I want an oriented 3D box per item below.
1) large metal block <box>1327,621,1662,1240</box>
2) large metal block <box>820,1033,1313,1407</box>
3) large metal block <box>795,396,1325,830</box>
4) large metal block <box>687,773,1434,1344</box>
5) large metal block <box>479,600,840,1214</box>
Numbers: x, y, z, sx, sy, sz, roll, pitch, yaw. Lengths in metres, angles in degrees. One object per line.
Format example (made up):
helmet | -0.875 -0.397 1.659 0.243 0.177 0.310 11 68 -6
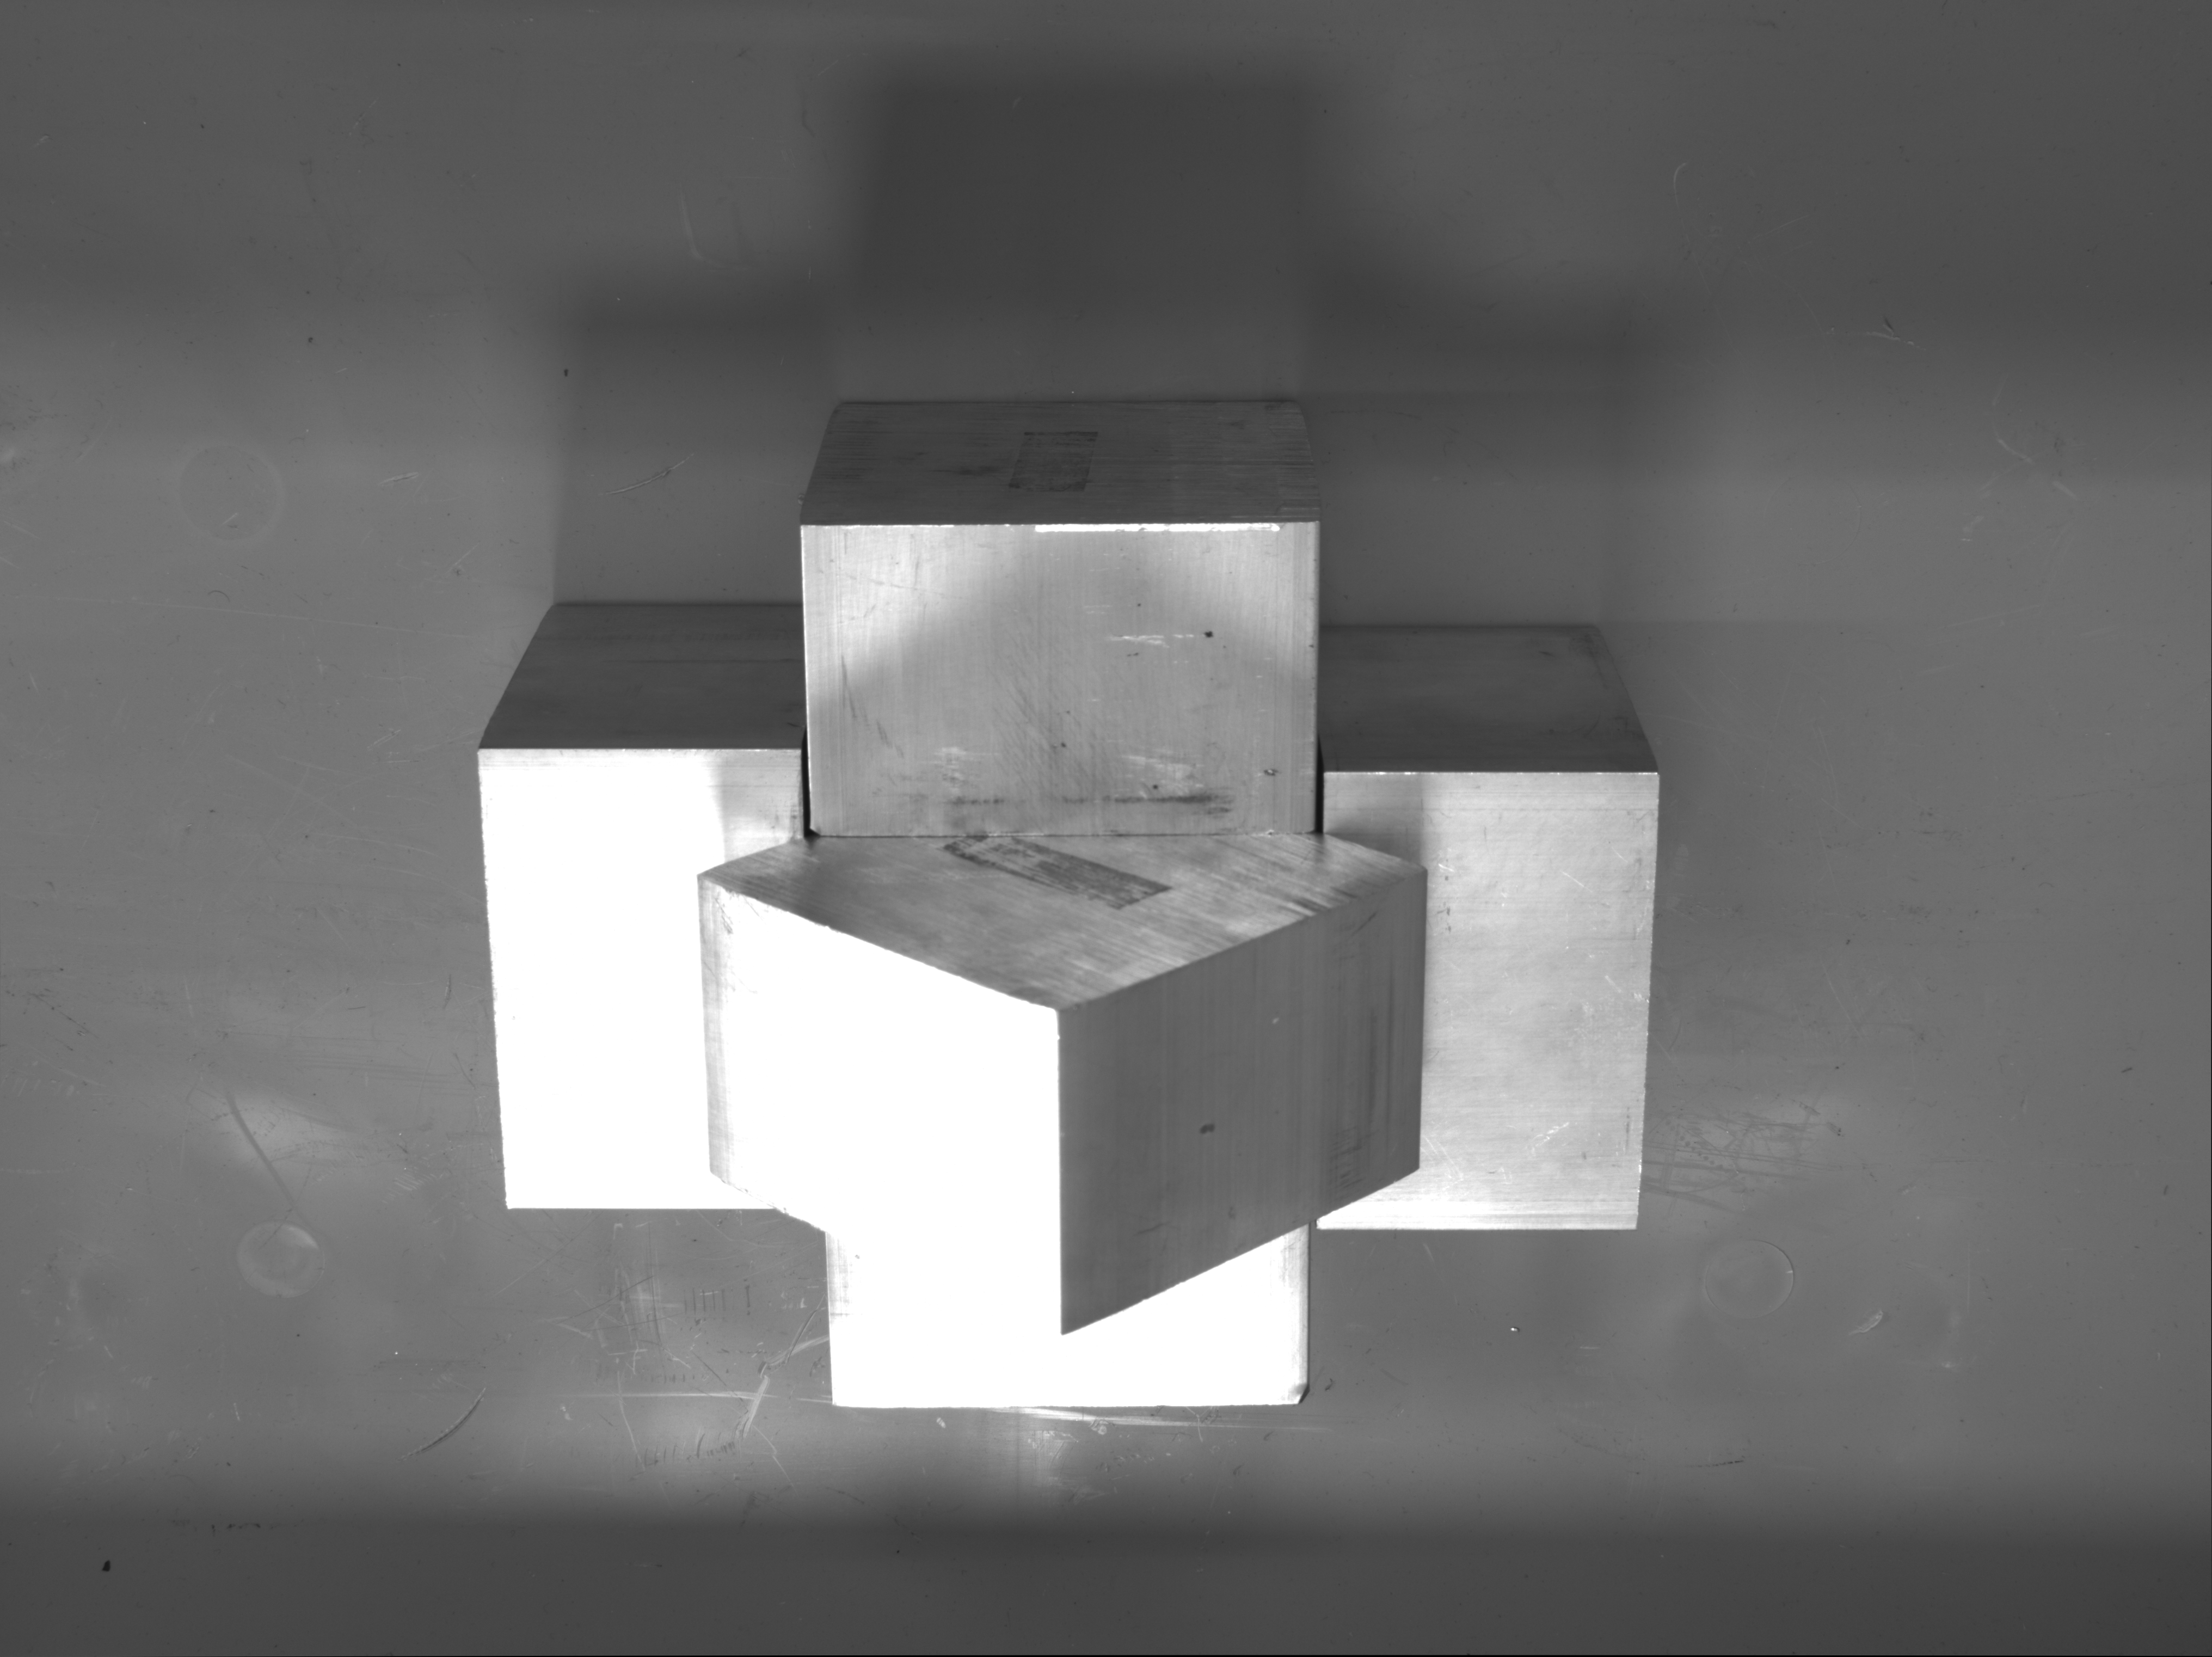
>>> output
large metal block | 0.061 0.015 0.617 0.050 0.080 0.080 0 110 0
large metal block | -0.006 0.058 0.635 0.080 0.080 0.050 0 110 0
large metal block | -0.007 -0.037 0.600 0.080 0.080 0.050 0 110 0
large metal block | -0.007 0.030 0.564 0.080 0.080 0.050 -19 117 -42
large metal block | -0.072 0.011 0.618 0.050 0.080 0.080 0 110 0
